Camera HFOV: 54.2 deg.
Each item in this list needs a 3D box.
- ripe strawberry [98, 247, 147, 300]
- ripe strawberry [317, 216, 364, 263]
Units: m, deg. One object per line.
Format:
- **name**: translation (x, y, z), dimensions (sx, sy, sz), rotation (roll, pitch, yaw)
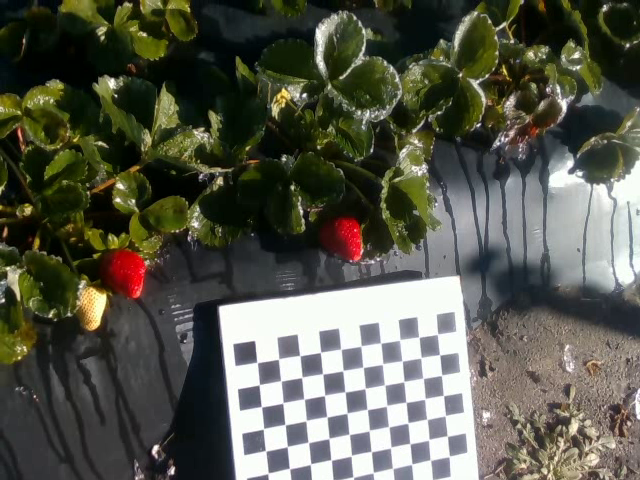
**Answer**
- **ripe strawberry**: translation (-0.187, 0.039, 0.608), dimensions (0.043, 0.061, 0.046), rotation (-22, -35, -17)
- **ripe strawberry**: translation (0.029, 0.000, 0.672), dimensions (0.049, 0.061, 0.044), rotation (-14, -28, -18)
